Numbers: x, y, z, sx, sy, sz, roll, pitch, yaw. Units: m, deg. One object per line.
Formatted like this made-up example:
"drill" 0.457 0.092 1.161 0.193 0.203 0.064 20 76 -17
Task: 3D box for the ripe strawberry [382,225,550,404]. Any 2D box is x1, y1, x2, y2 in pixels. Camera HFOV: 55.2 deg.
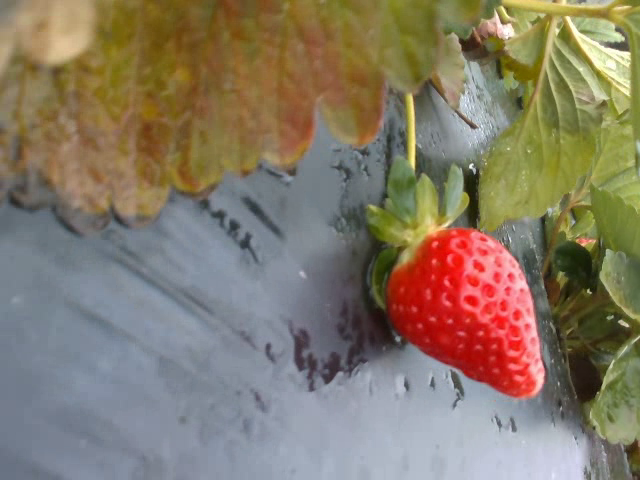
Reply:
"ripe strawberry" 0.042 0.021 0.166 0.045 0.053 0.048 1 -34 -38
